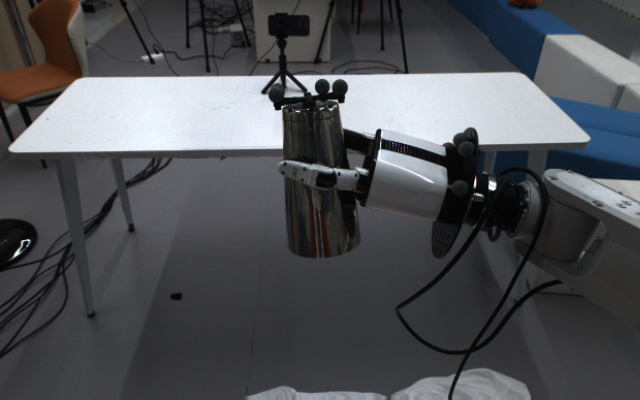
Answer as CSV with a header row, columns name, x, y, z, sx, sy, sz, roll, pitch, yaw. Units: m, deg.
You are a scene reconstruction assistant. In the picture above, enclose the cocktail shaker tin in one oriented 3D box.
name,x,y,z,sx,sy,sz,roll,pitch,yaw
cocktail shaker tin,-0.002,-0.027,0.578,0.093,0.170,0.093,-6,19,2
